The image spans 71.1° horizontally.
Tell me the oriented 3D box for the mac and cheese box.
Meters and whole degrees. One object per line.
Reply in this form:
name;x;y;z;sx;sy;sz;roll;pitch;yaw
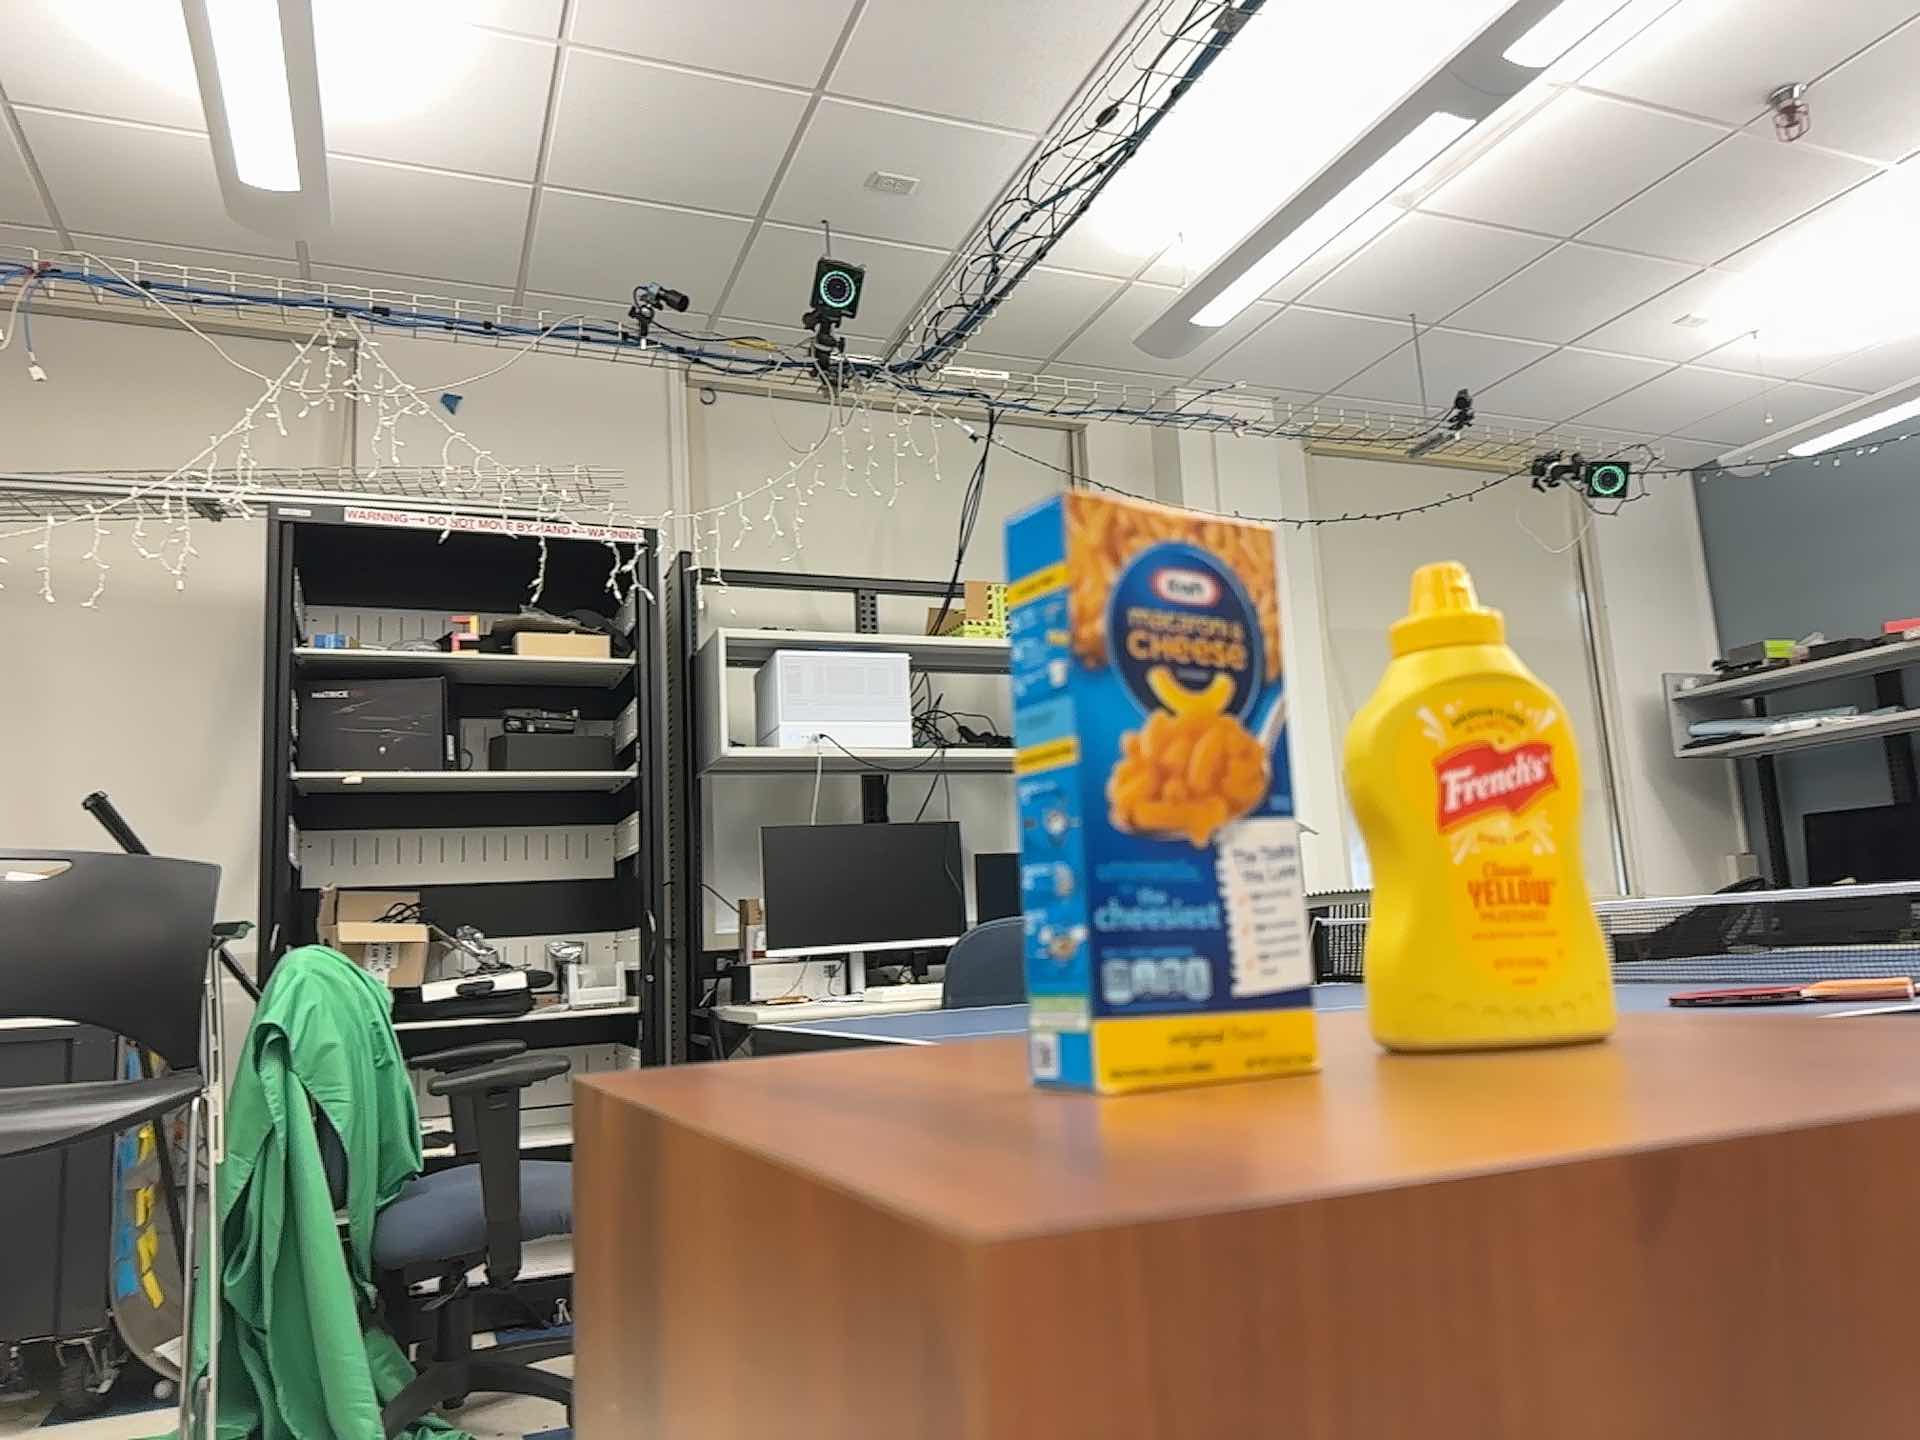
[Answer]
mac and cheese box;0.063;0.020;0.434;0.088;0.181;0.035;3;-10;-28

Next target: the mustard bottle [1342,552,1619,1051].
mustard bottle;0.188;0.027;0.502;0.092;0.184;0.054;-2;-9;-5
